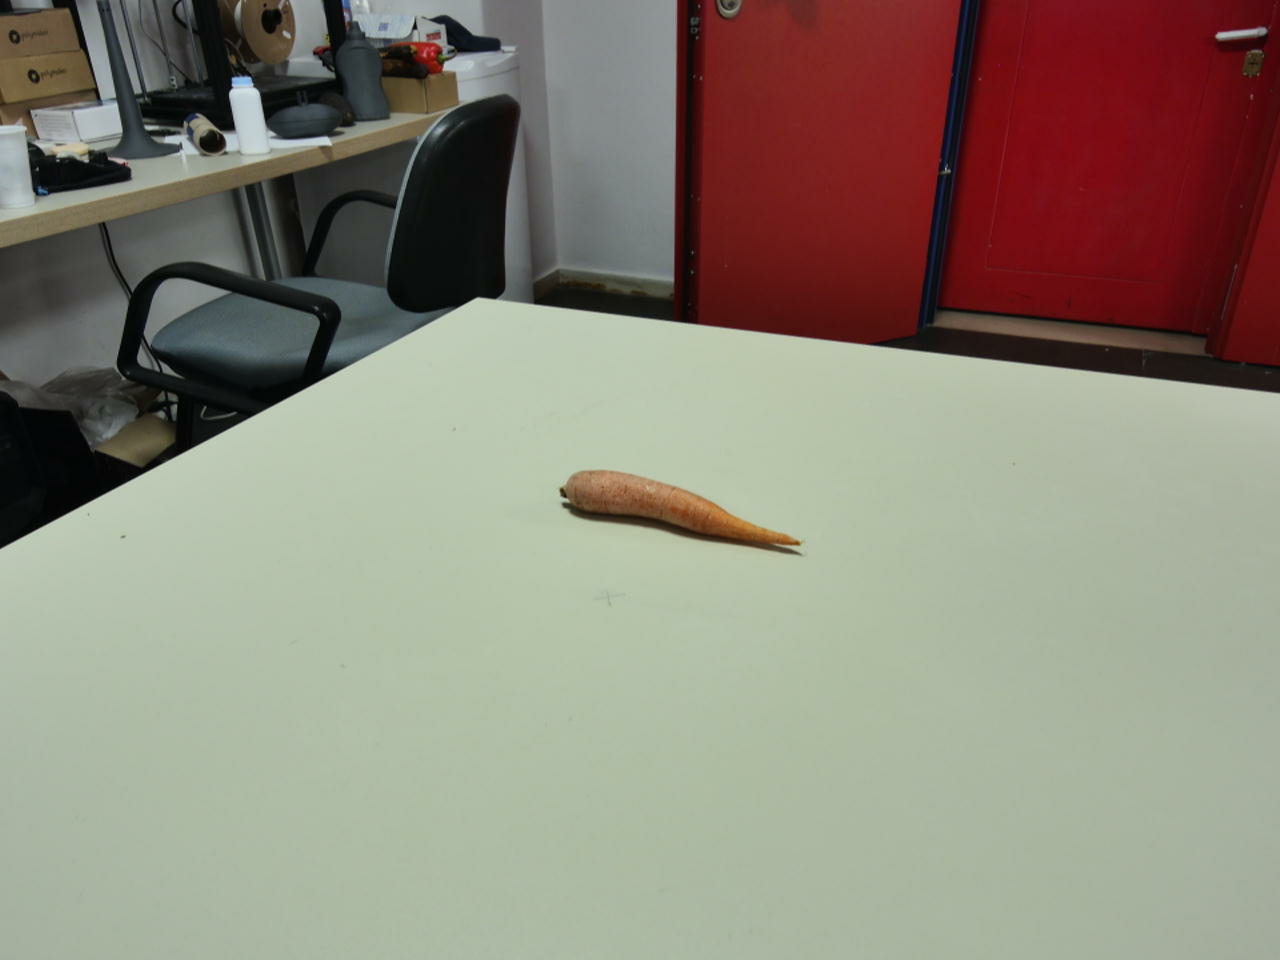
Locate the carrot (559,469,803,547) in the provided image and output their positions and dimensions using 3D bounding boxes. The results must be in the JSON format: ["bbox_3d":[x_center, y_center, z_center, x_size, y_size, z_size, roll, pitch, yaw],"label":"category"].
[{"bbox_3d":[0.023,0.017,0.621,0.163,0.029,0.031,11,28,21],"label":"carrot"}]
